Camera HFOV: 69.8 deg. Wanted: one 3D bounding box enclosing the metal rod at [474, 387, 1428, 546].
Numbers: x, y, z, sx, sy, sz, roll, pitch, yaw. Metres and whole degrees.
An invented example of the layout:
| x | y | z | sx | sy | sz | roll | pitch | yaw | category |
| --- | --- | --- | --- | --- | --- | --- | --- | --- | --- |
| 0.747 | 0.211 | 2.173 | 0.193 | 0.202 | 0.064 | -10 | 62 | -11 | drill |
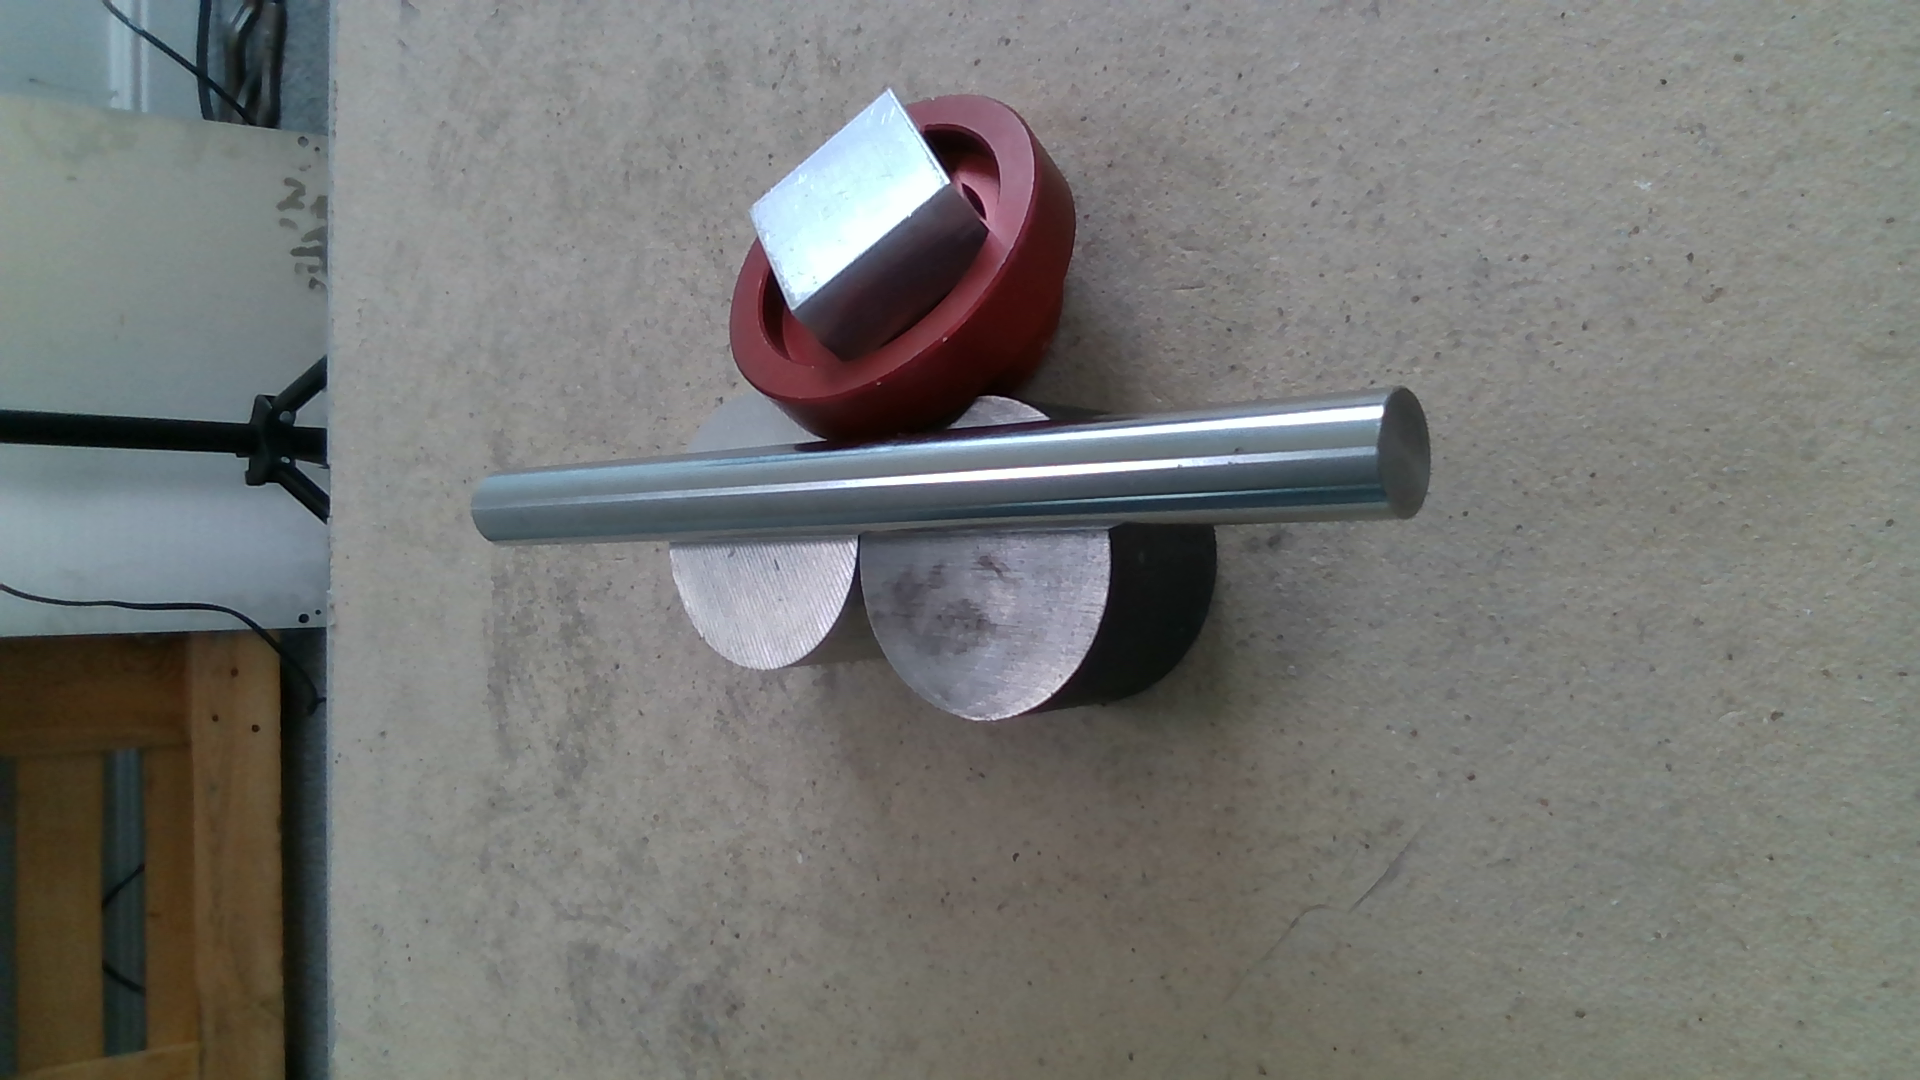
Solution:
| x | y | z | sx | sy | sz | roll | pitch | yaw | category |
| --- | --- | --- | --- | --- | --- | --- | --- | --- | --- |
| -0.032 | -0.013 | 0.353 | 0.300 | 0.025 | 0.025 | -1 | 89 | 40 | metal rod |

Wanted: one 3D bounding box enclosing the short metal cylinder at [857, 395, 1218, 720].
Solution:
| x | y | z | sx | sy | sz | roll | pitch | yaw | category |
| --- | --- | --- | --- | --- | --- | --- | --- | --- | --- |
| 0.019 | 0.004 | 0.359 | 0.080 | 0.050 | 0.080 | 0 | 91 | 40 | short metal cylinder |

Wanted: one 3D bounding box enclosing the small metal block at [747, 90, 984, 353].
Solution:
| x | y | z | sx | sy | sz | roll | pitch | yaw | category |
| --- | --- | --- | --- | --- | --- | --- | --- | --- | --- |
| -0.023 | -0.081 | 0.357 | 0.050 | 0.025 | 0.050 | -36 | 46 | 12 | small metal block |

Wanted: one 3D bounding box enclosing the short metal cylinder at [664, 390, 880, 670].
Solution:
| x | y | z | sx | sy | sz | roll | pitch | yaw | category |
| --- | --- | --- | --- | --- | --- | --- | --- | --- | --- |
| -0.043 | -0.003 | 0.410 | 0.080 | 0.050 | 0.080 | 0 | 91 | 39 | short metal cylinder |

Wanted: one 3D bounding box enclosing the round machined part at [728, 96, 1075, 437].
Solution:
| x | y | z | sx | sy | sz | roll | pitch | yaw | category |
| --- | --- | --- | --- | --- | --- | --- | --- | --- | --- |
| -0.012 | -0.068 | 0.372 | 0.098 | 0.042 | 0.098 | -20 | 51 | 26 | round machined part |
